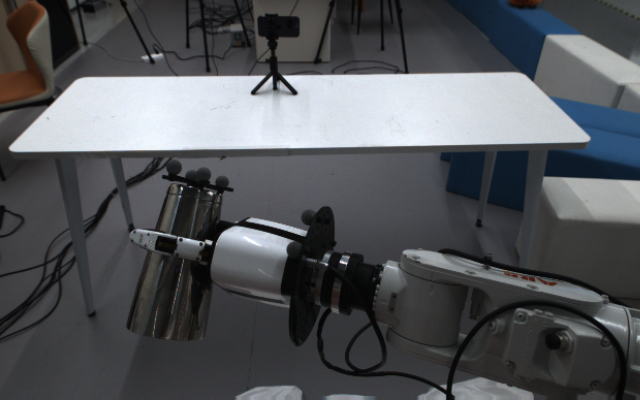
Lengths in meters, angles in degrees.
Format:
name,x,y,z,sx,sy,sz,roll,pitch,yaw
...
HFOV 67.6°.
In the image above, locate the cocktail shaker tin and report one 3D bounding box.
name,x,y,z,sx,sy,sz,roll,pitch,yaw
cocktail shaker tin,-0.164,0.072,0.579,0.093,0.170,0.093,11,-5,1
